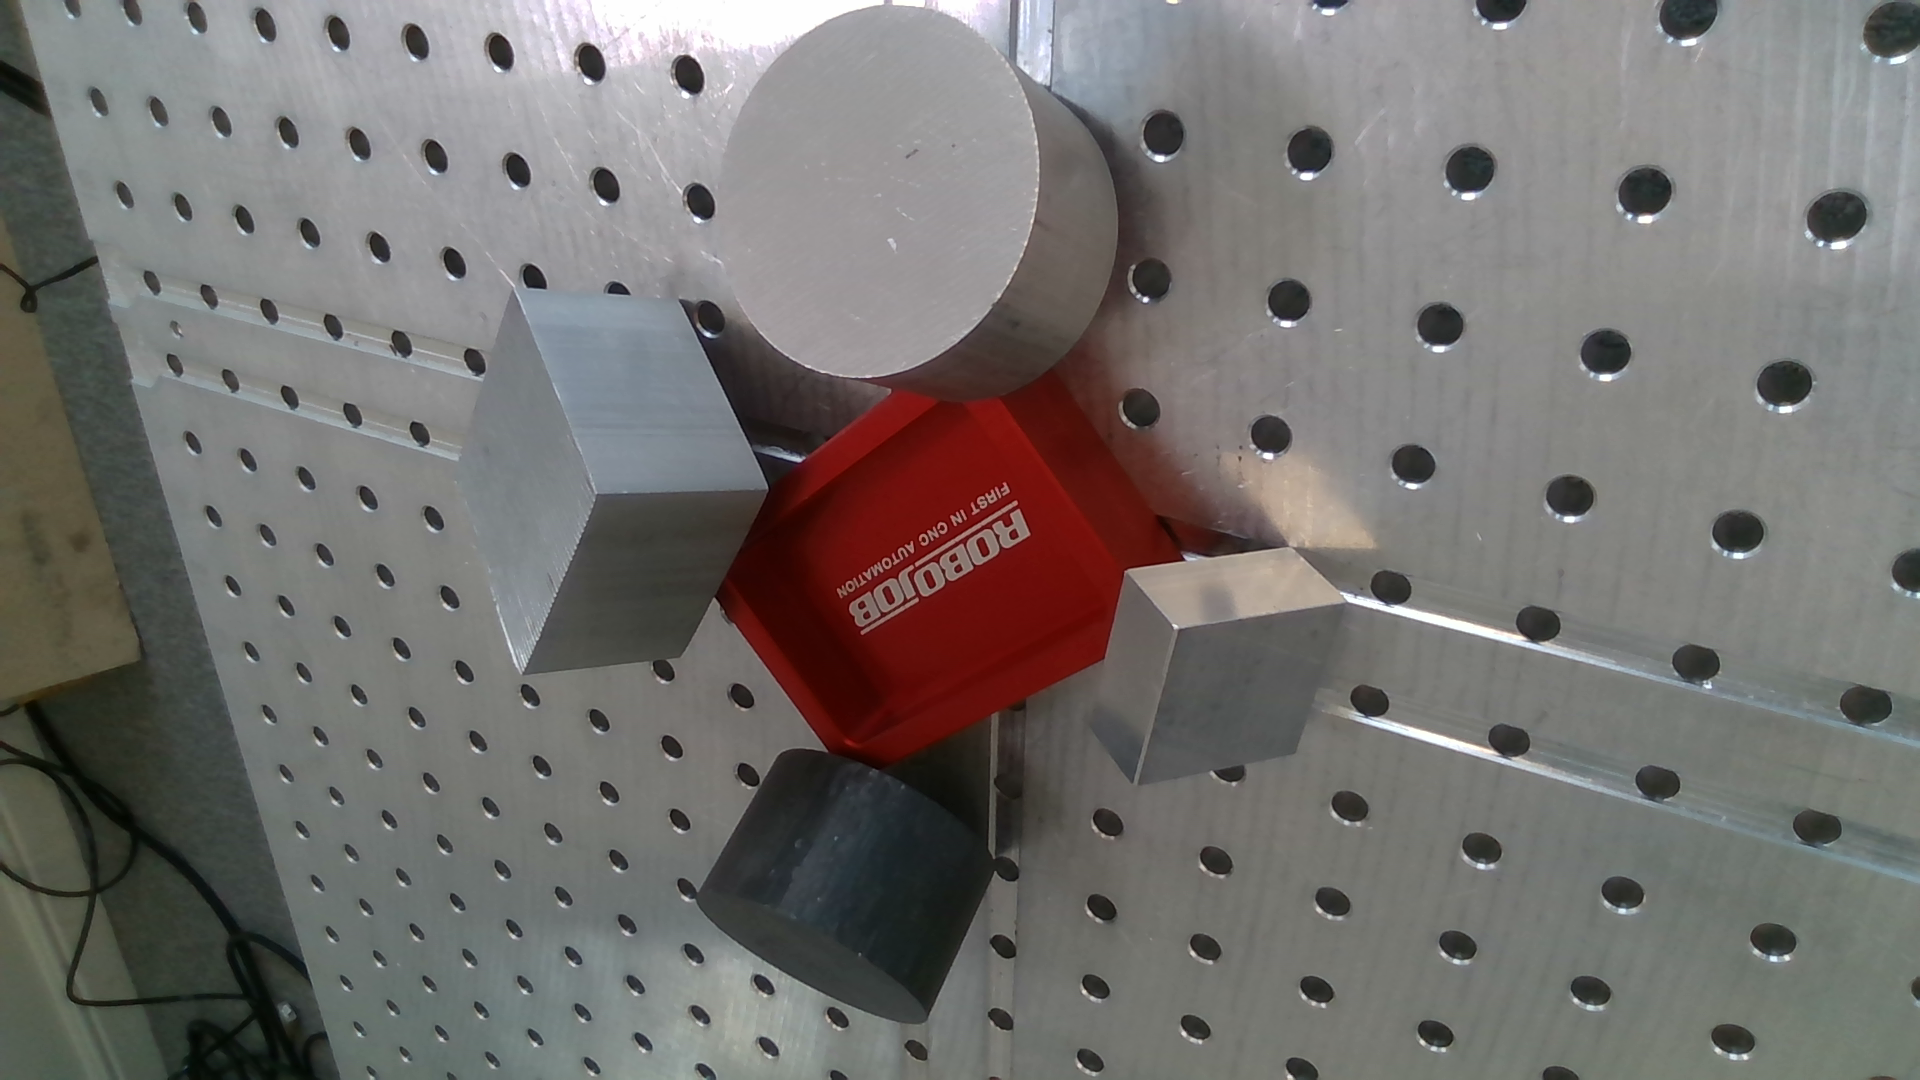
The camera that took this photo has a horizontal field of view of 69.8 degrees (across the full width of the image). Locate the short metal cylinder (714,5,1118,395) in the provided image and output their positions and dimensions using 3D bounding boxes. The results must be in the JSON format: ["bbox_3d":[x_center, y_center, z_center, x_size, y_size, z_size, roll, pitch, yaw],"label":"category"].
[{"bbox_3d":[-0.009,-0.075,0.321,0.080,0.050,0.080,0,90,26],"label":"short metal cylinder"}]

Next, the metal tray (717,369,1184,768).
[{"bbox_3d":[-0.010,0.008,0.399,0.130,0.030,0.090,-32,96,39],"label":"metal tray"}]

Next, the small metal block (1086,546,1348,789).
[{"bbox_3d":[0.064,0.032,0.350,0.025,0.050,0.050,-126,37,-48],"label":"small metal block"}]

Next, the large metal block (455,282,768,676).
[{"bbox_3d":[-0.107,-0.018,0.410,0.080,0.050,0.080,-55,51,39],"label":"large metal block"}]

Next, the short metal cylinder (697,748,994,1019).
[{"bbox_3d":[-0.036,0.110,0.438,0.080,0.050,0.080,22,151,13],"label":"short metal cylinder"}]
